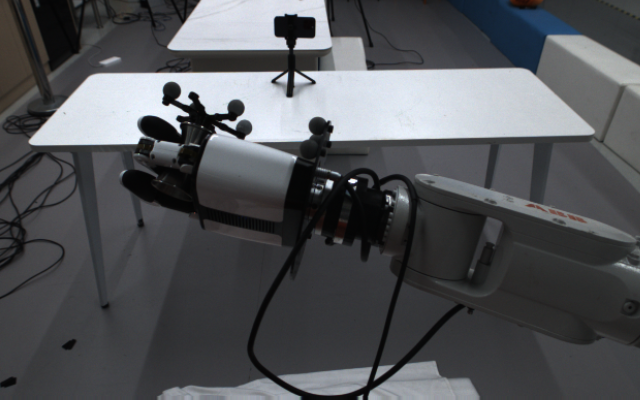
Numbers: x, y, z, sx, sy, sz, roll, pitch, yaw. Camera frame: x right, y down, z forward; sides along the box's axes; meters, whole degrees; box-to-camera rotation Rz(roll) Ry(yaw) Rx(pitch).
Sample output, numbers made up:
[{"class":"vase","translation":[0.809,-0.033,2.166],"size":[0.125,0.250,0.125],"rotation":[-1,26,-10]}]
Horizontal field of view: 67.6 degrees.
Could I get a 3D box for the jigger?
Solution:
[{"class":"jigger","translation":[-0.130,-0.037,0.484],"size":[0.043,0.043,0.071],"rotation":[12,71,14]}]
